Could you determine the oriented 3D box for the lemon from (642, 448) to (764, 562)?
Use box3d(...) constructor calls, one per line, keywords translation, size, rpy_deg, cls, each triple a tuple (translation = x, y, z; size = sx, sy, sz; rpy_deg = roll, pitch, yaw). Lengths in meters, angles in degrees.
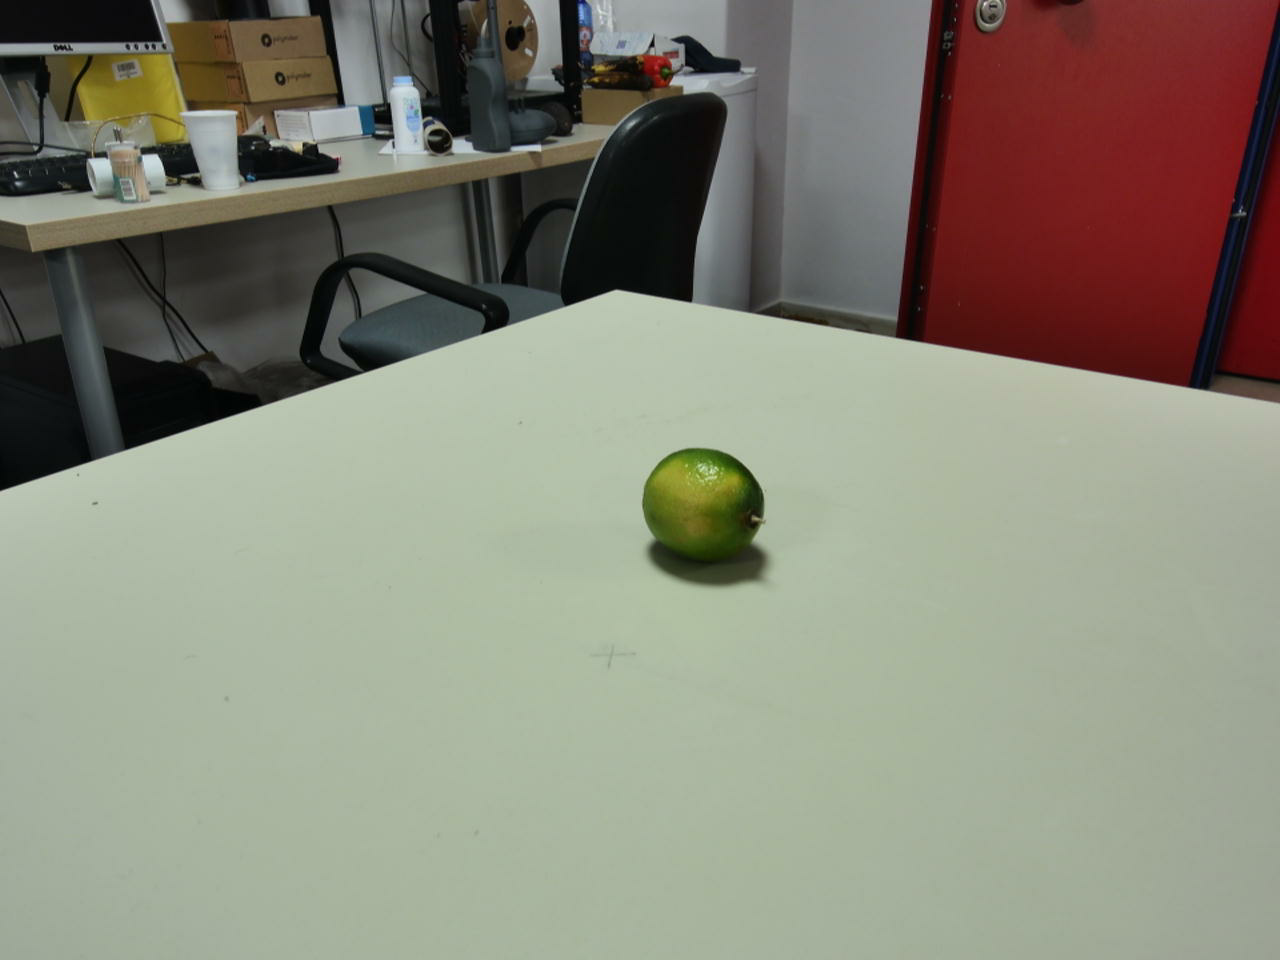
box3d(translation=(0.029, 0.011, 0.457), size=(0.054, 0.050, 0.055), rpy_deg=(-1, 23, -1), cls="lemon")
